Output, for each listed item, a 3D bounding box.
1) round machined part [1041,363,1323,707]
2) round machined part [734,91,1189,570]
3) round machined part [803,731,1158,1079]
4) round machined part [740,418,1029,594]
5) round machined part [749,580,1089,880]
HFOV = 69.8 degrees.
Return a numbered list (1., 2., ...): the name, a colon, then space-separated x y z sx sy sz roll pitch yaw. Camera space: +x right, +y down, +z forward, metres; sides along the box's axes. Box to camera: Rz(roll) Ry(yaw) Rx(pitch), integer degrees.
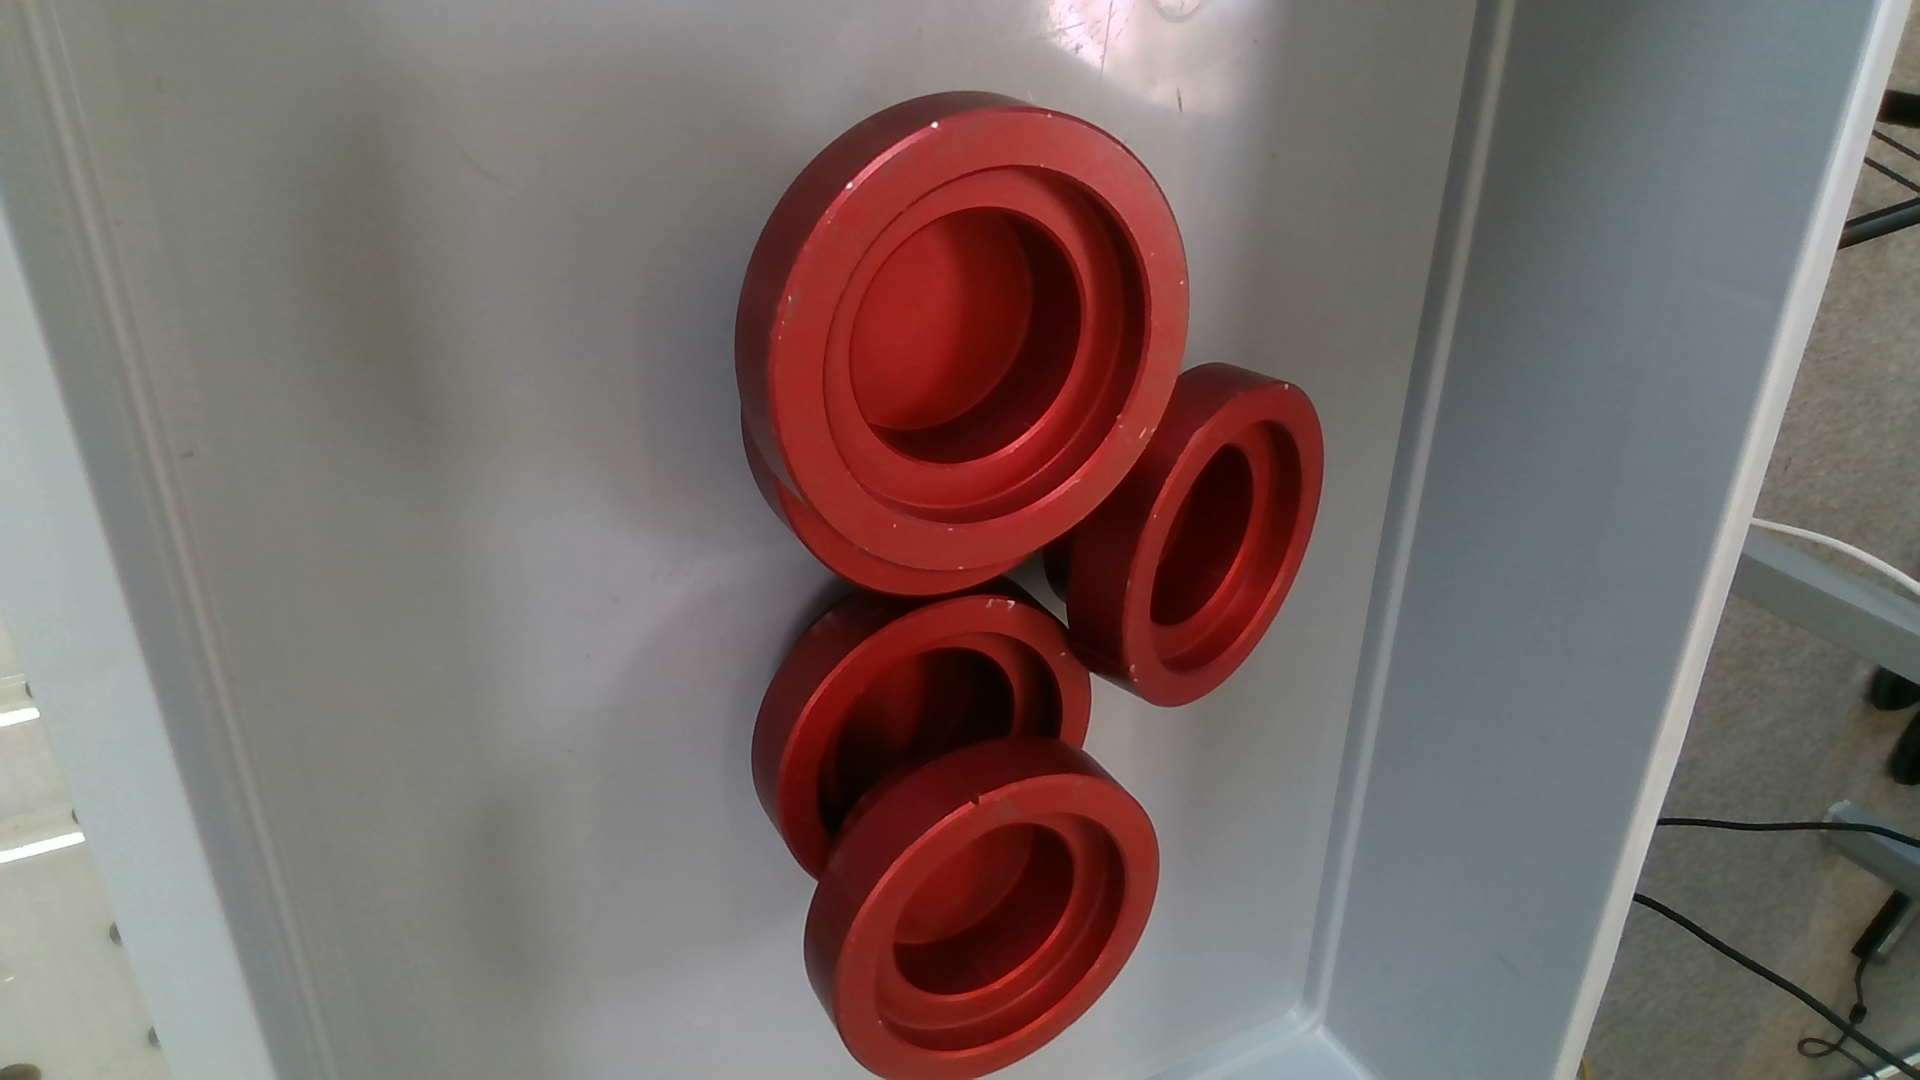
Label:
1. round machined part: 0.061 -0.005 0.400 0.098 0.042 0.098 -28 130 -39
2. round machined part: -0.003 -0.046 0.297 0.098 0.042 0.098 -14 122 -25
3. round machined part: 0.002 0.094 0.376 0.098 0.042 0.098 -14 122 -25
4. round machined part: -0.010 -0.039 0.351 0.098 0.042 0.098 -14 122 -25
5. round machined part: -0.015 0.050 0.396 0.098 0.042 0.098 -14 122 -25
